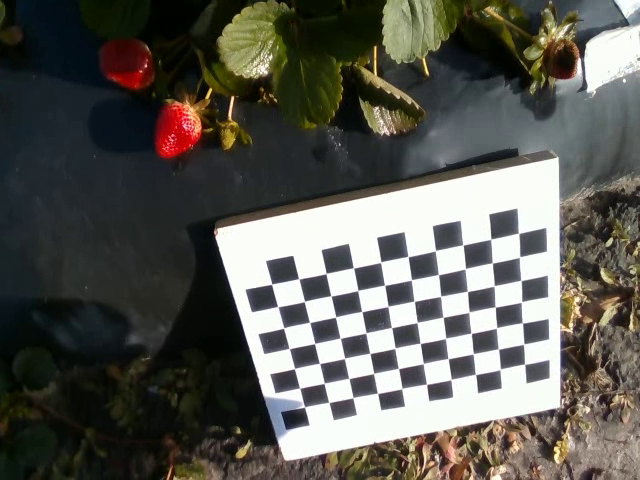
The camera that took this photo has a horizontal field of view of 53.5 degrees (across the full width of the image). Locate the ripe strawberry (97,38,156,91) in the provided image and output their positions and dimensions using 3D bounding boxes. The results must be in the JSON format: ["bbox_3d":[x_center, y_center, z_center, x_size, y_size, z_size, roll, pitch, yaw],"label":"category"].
[{"bbox_3d":[-0.159,-0.147,0.525,0.054,0.048,0.039,-6,27,-28],"label":"ripe strawberry"}]

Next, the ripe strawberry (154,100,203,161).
[{"bbox_3d":[-0.120,-0.089,0.517,0.043,0.053,0.038,30,-21,-17],"label":"ripe strawberry"}]
